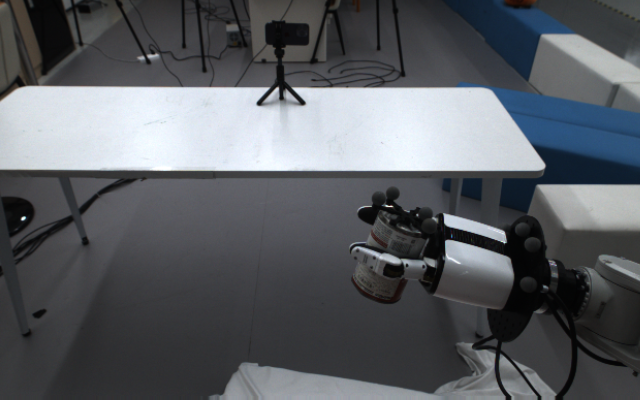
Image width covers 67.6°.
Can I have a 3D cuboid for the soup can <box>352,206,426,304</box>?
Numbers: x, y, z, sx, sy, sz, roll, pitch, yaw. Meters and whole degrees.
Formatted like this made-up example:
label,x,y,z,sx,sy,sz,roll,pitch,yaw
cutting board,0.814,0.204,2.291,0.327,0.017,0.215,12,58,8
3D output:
label,x,y,z,sx,sy,sz,roll,pitch,yaw
soup can,0.089,0.068,0.605,0.067,0.101,0.067,16,21,-7
